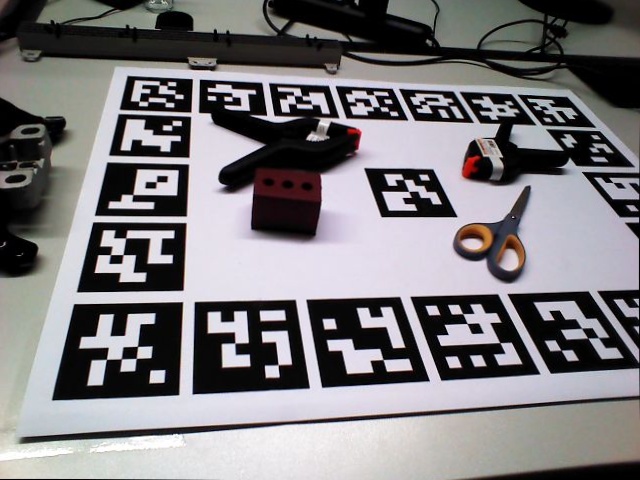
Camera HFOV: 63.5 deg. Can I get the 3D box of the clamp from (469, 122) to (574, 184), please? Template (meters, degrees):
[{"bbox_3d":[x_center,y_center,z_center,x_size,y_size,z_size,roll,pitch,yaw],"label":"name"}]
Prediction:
[{"bbox_3d":[0.280,-0.123,0.757,0.164,0.037,0.122,-23,61,-29],"label":"clamp"}]

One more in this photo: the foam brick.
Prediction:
[{"bbox_3d":[-0.038,-0.037,0.599,0.078,0.051,0.052,2,47,-2],"label":"foam brick"}]

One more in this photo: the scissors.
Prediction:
[{"bbox_3d":[0.239,-0.017,0.648,0.088,0.016,0.201,33,47,11],"label":"scissors"}]

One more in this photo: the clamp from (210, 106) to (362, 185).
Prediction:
[{"bbox_3d":[-0.041,-0.131,0.699,0.202,0.037,0.165,-3,43,-14],"label":"clamp"}]
